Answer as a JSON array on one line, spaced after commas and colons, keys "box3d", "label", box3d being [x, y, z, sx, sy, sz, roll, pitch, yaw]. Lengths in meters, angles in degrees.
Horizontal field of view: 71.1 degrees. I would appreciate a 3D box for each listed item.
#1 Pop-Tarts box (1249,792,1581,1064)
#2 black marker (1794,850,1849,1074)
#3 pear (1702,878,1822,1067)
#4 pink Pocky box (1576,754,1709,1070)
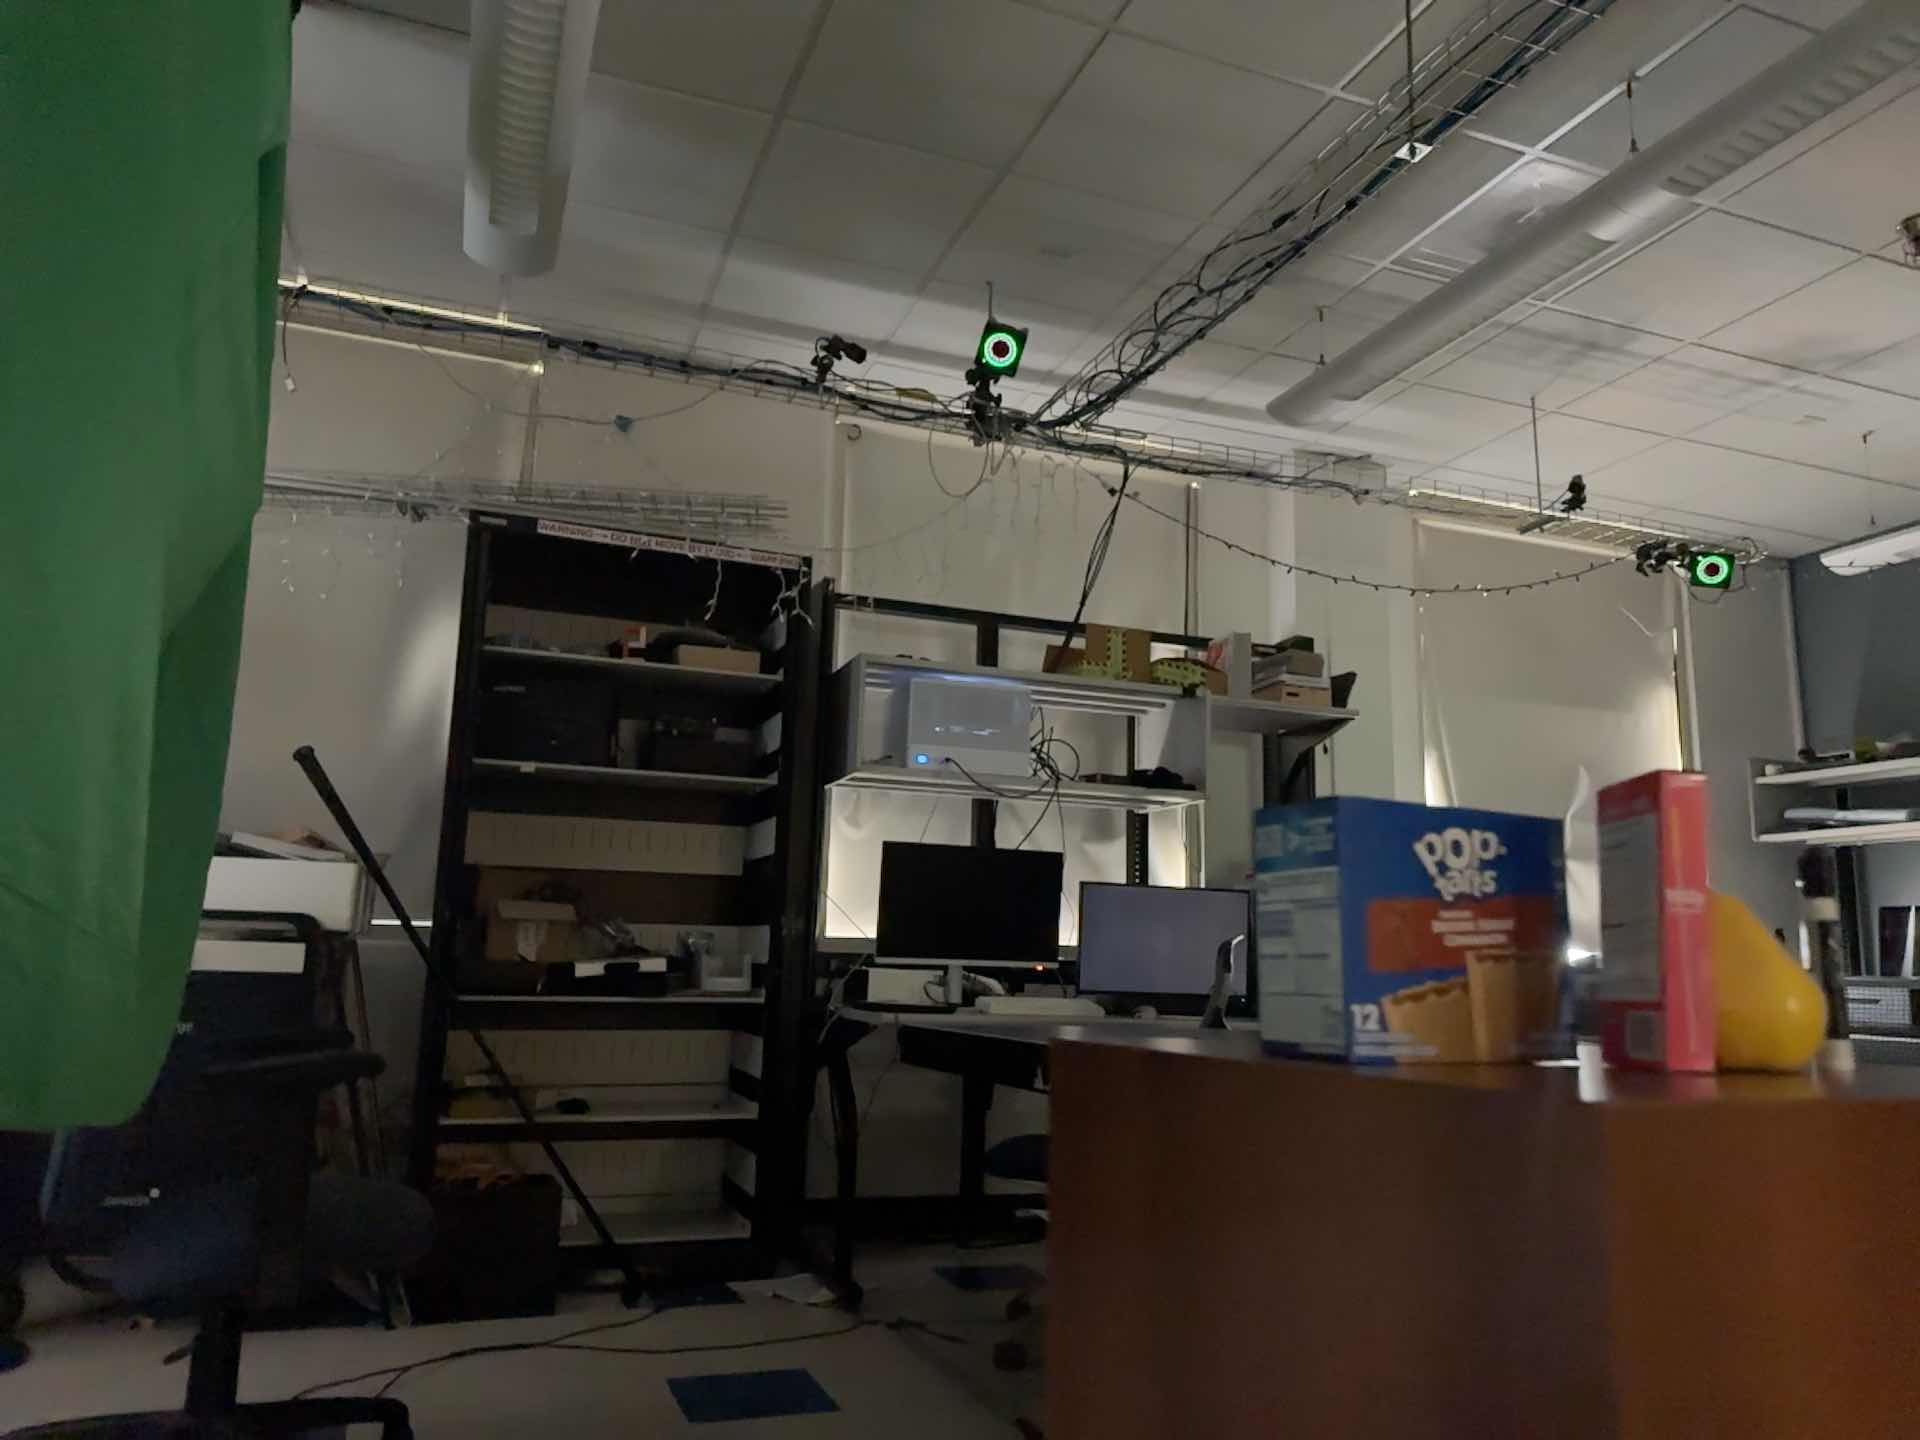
[{"box3d": [0.256, 0.120, 0.760, 0.161, 0.135, 0.075, 6, -12, -23], "label": "Pop-Tarts box"}, {"box3d": [0.477, 0.133, 0.745, 0.020, 0.121, 0.020, 2, -9, 0], "label": "black marker"}, {"box3d": [0.406, 0.125, 0.710, 0.080, 0.111, 0.080, 1, -11, 0], "label": "pear"}, {"box3d": [0.353, 0.099, 0.700, 0.029, 0.155, 0.084, 2, -9, 2], "label": "pink Pocky box"}]
